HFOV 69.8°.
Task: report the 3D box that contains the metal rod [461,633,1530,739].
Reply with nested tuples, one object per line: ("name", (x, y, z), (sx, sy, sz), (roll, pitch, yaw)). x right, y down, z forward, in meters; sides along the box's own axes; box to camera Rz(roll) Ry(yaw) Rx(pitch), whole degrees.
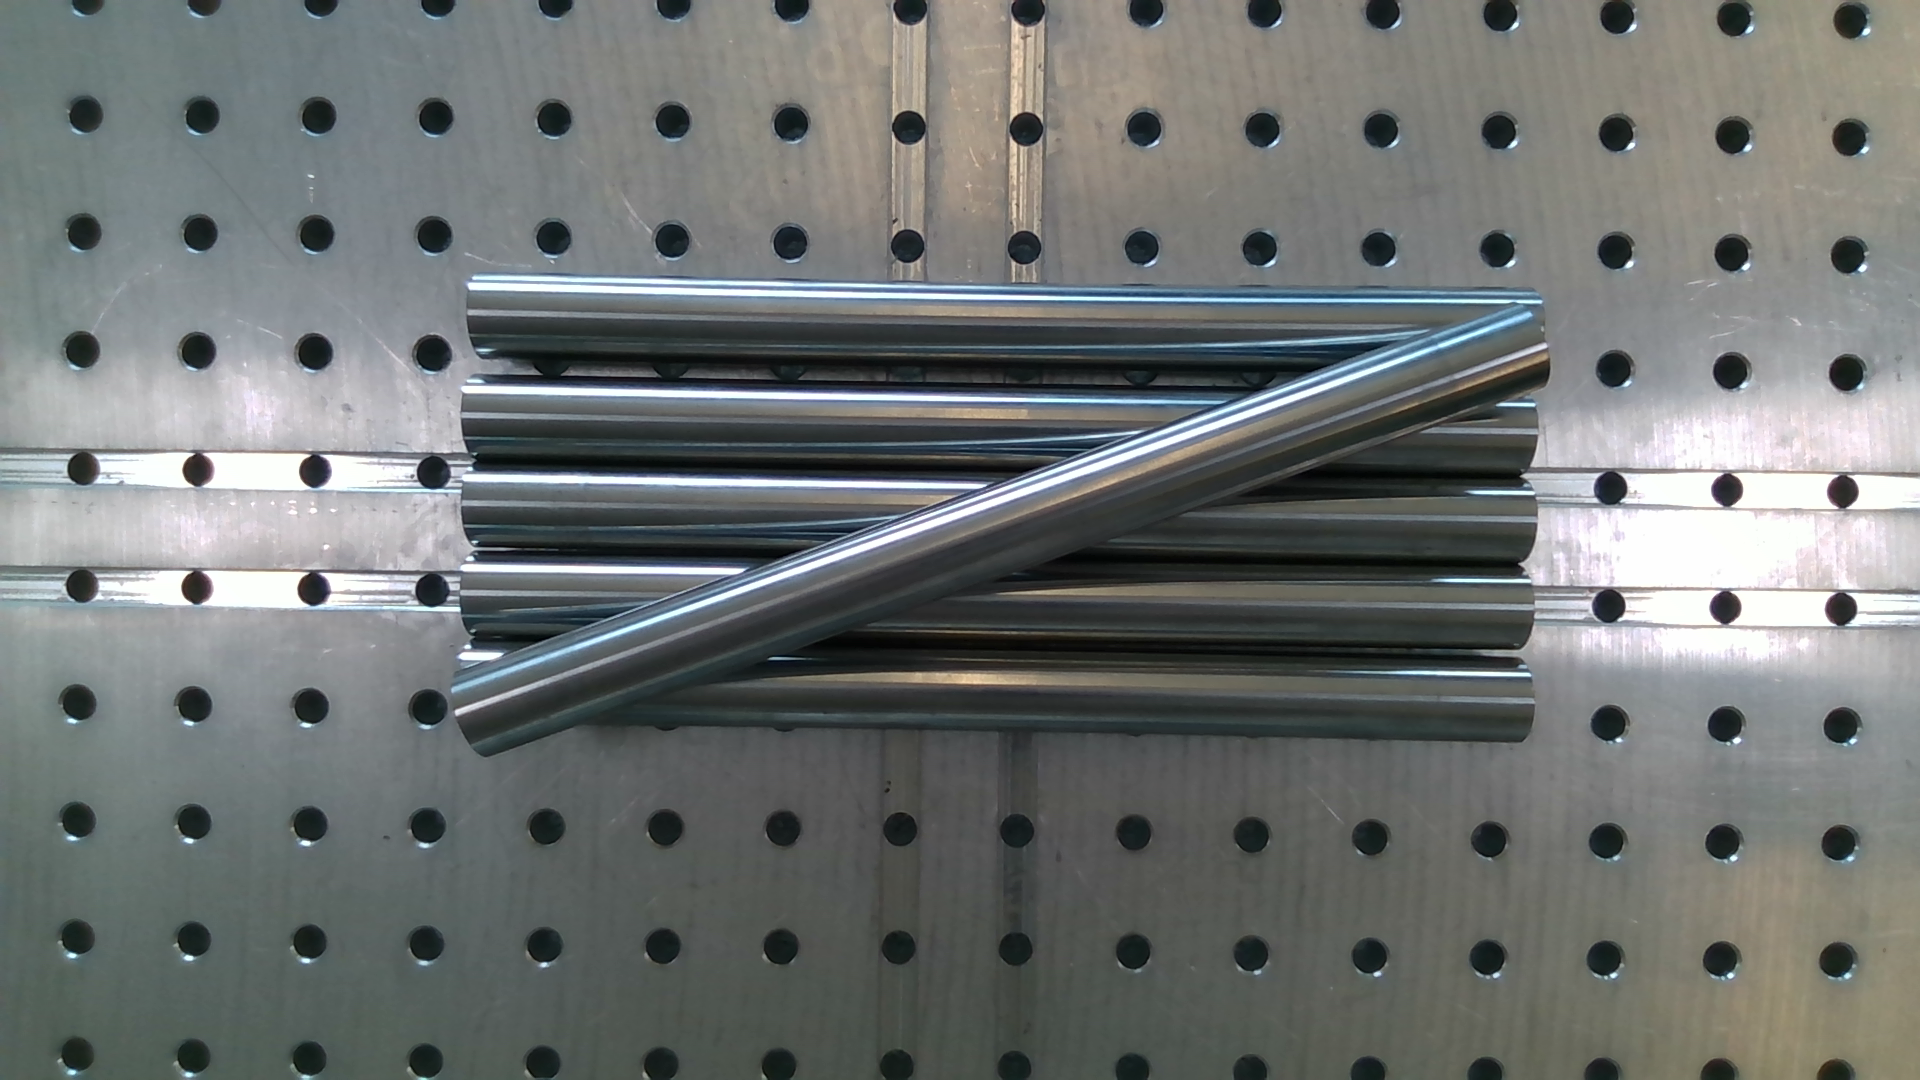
("metal rod", (0.010, 0.042, 0.398), (0.300, 0.025, 0.025), (1, 90, 0))

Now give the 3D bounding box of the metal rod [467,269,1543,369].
("metal rod", (0.013, -0.063, 0.396), (0.300, 0.025, 0.025), (1, 90, 0))

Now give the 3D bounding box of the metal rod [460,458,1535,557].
("metal rod", (0.010, -0.009, 0.397), (0.300, 0.025, 0.025), (1, 90, 0))

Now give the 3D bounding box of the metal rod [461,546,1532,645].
("metal rod", (0.010, 0.016, 0.398), (0.300, 0.025, 0.025), (1, 90, 0))

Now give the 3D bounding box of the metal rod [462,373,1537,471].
("metal rod", (0.011, -0.034, 0.396), (0.300, 0.025, 0.025), (1, 90, 0))

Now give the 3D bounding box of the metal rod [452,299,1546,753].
("metal rod", (0.010, -0.004, 0.372), (0.300, 0.025, 0.025), (-19, 90, 0))
